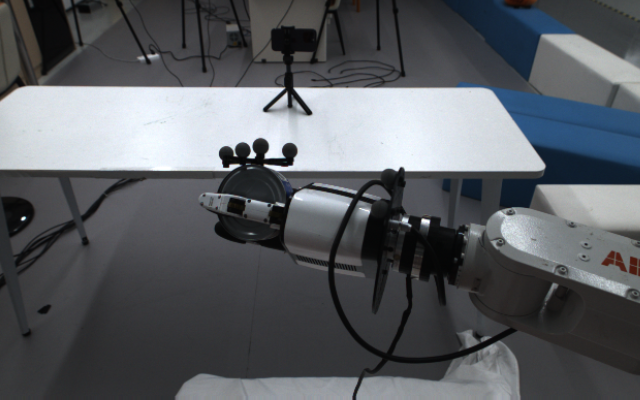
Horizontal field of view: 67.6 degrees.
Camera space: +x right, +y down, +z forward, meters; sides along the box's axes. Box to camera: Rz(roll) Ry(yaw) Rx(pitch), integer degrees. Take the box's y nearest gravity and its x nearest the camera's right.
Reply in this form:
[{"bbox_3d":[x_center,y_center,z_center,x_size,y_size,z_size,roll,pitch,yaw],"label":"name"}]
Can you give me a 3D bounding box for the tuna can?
[{"bbox_3d":[-0.071,0.003,0.552,0.085,0.085,0.034,15,1,18],"label":"tuna can"}]
